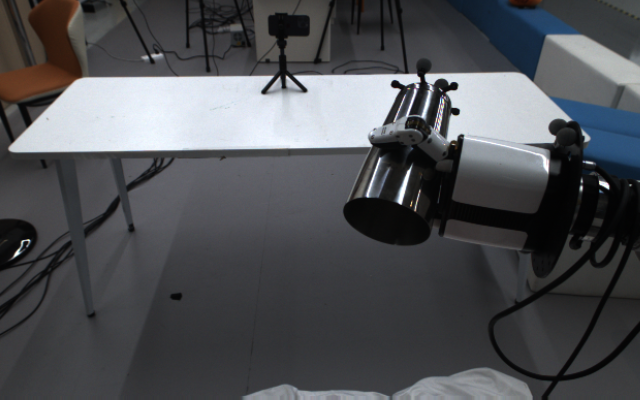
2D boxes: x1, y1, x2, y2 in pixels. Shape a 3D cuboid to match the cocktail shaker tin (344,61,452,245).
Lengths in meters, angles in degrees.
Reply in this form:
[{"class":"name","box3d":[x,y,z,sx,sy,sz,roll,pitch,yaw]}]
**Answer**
[{"class":"cocktail shaker tin","box3d":[0.095,-0.046,0.532,0.093,0.093,0.170,14,61,17]}]
